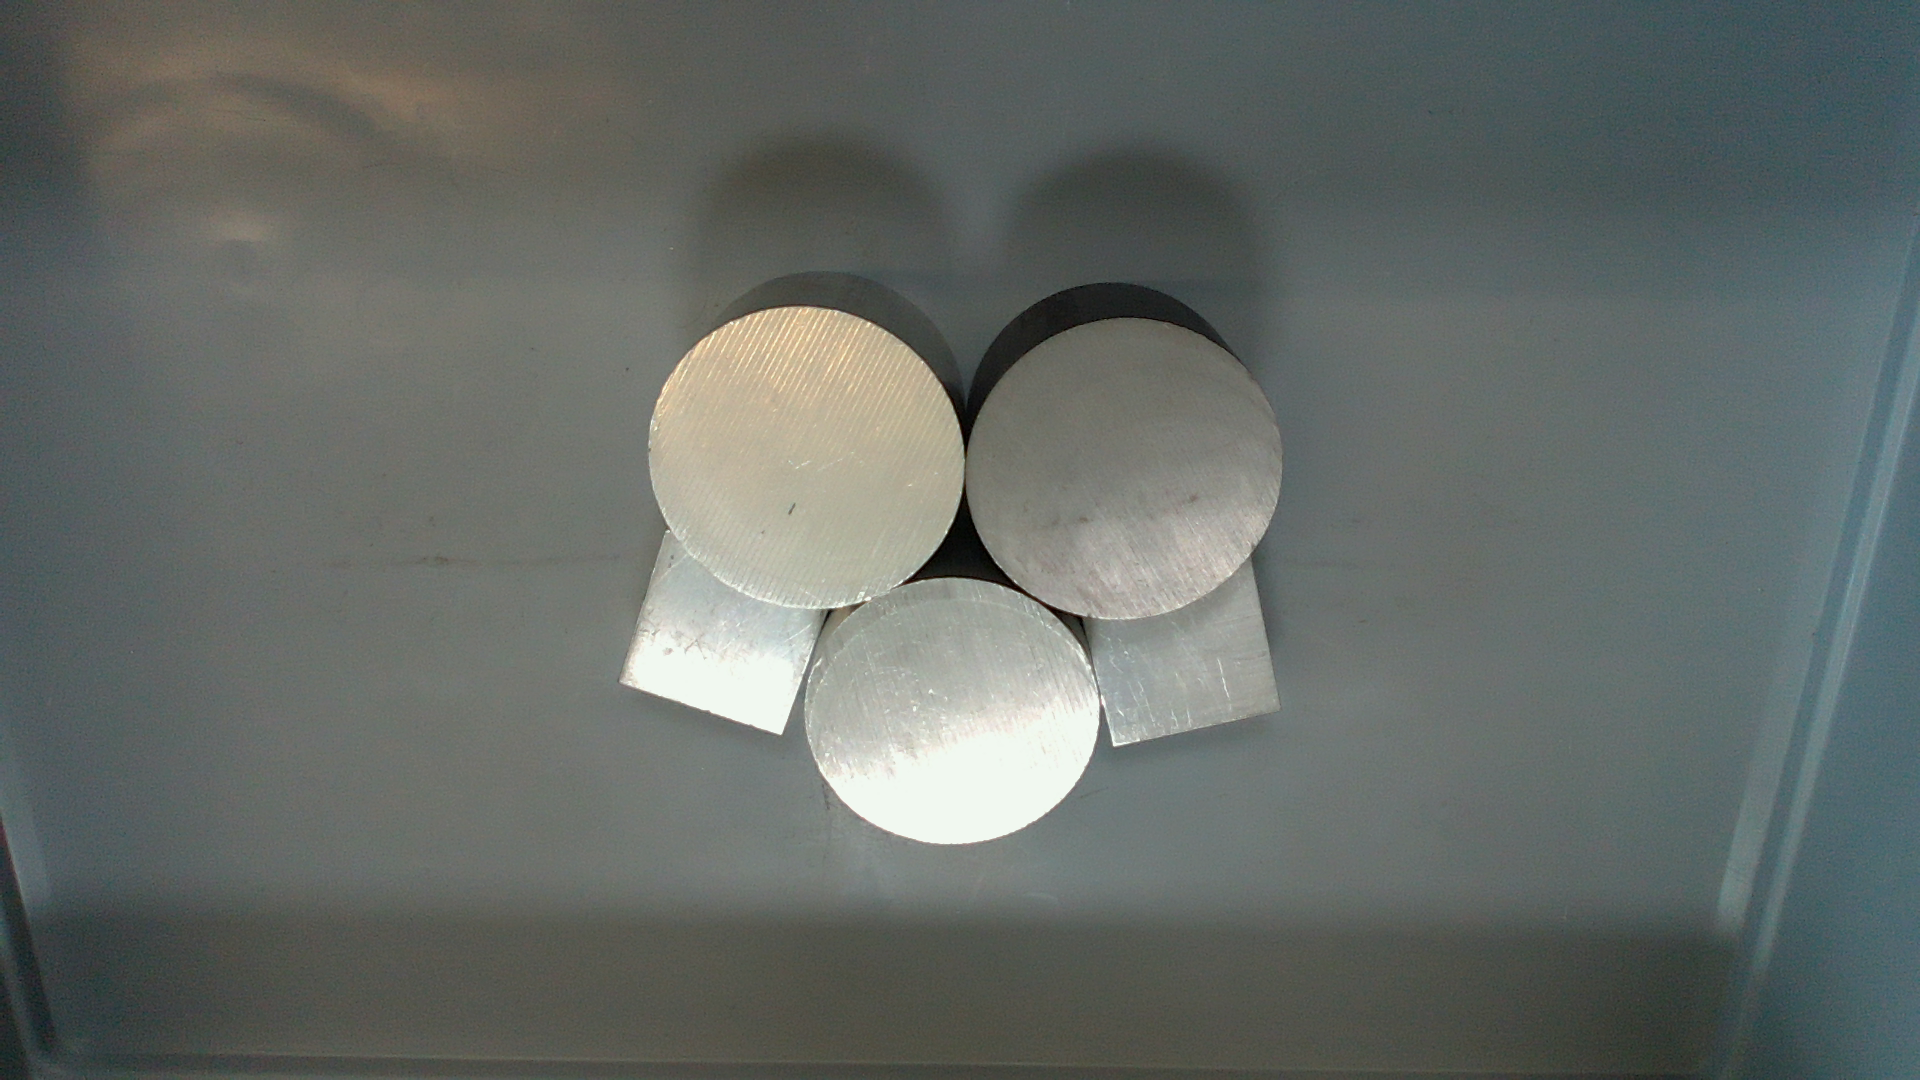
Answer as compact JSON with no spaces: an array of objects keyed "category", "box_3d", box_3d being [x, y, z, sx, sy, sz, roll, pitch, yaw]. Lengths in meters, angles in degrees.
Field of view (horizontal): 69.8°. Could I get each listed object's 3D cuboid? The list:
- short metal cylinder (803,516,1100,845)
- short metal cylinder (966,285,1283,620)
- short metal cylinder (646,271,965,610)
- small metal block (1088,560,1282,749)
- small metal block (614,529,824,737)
[{"category":"short metal cylinder","box_3d":[-0.002,0.039,0.394,0.080,0.050,0.080,0,110,0]},{"category":"short metal cylinder","box_3d":[0.042,-0.025,0.370,0.080,0.050,0.080,0,110,0]},{"category":"short metal cylinder","box_3d":[-0.039,-0.028,0.369,0.080,0.050,0.080,0,110,0]},{"category":"small metal block","box_3d":[0.063,0.028,0.404,0.050,0.025,0.050,-13,110,5]},{"category":"small metal block","box_3d":[-0.067,0.023,0.401,0.050,0.025,0.050,20,109,-7]}]
